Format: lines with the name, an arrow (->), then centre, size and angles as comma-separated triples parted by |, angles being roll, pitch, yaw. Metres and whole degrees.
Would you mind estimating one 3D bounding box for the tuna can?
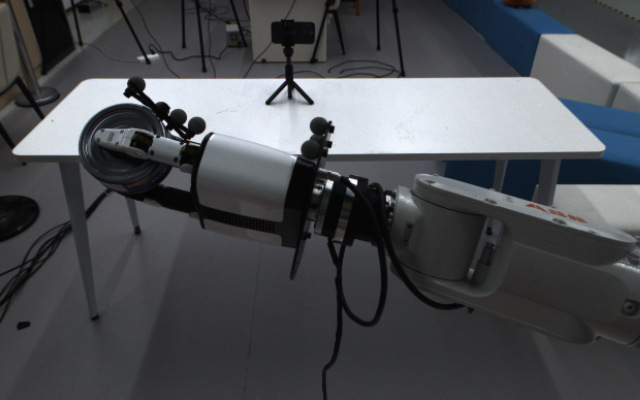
tuna can -> -0.185, -0.045, 0.476 | 0.085, 0.034, 0.085 | 0, 73, -1
